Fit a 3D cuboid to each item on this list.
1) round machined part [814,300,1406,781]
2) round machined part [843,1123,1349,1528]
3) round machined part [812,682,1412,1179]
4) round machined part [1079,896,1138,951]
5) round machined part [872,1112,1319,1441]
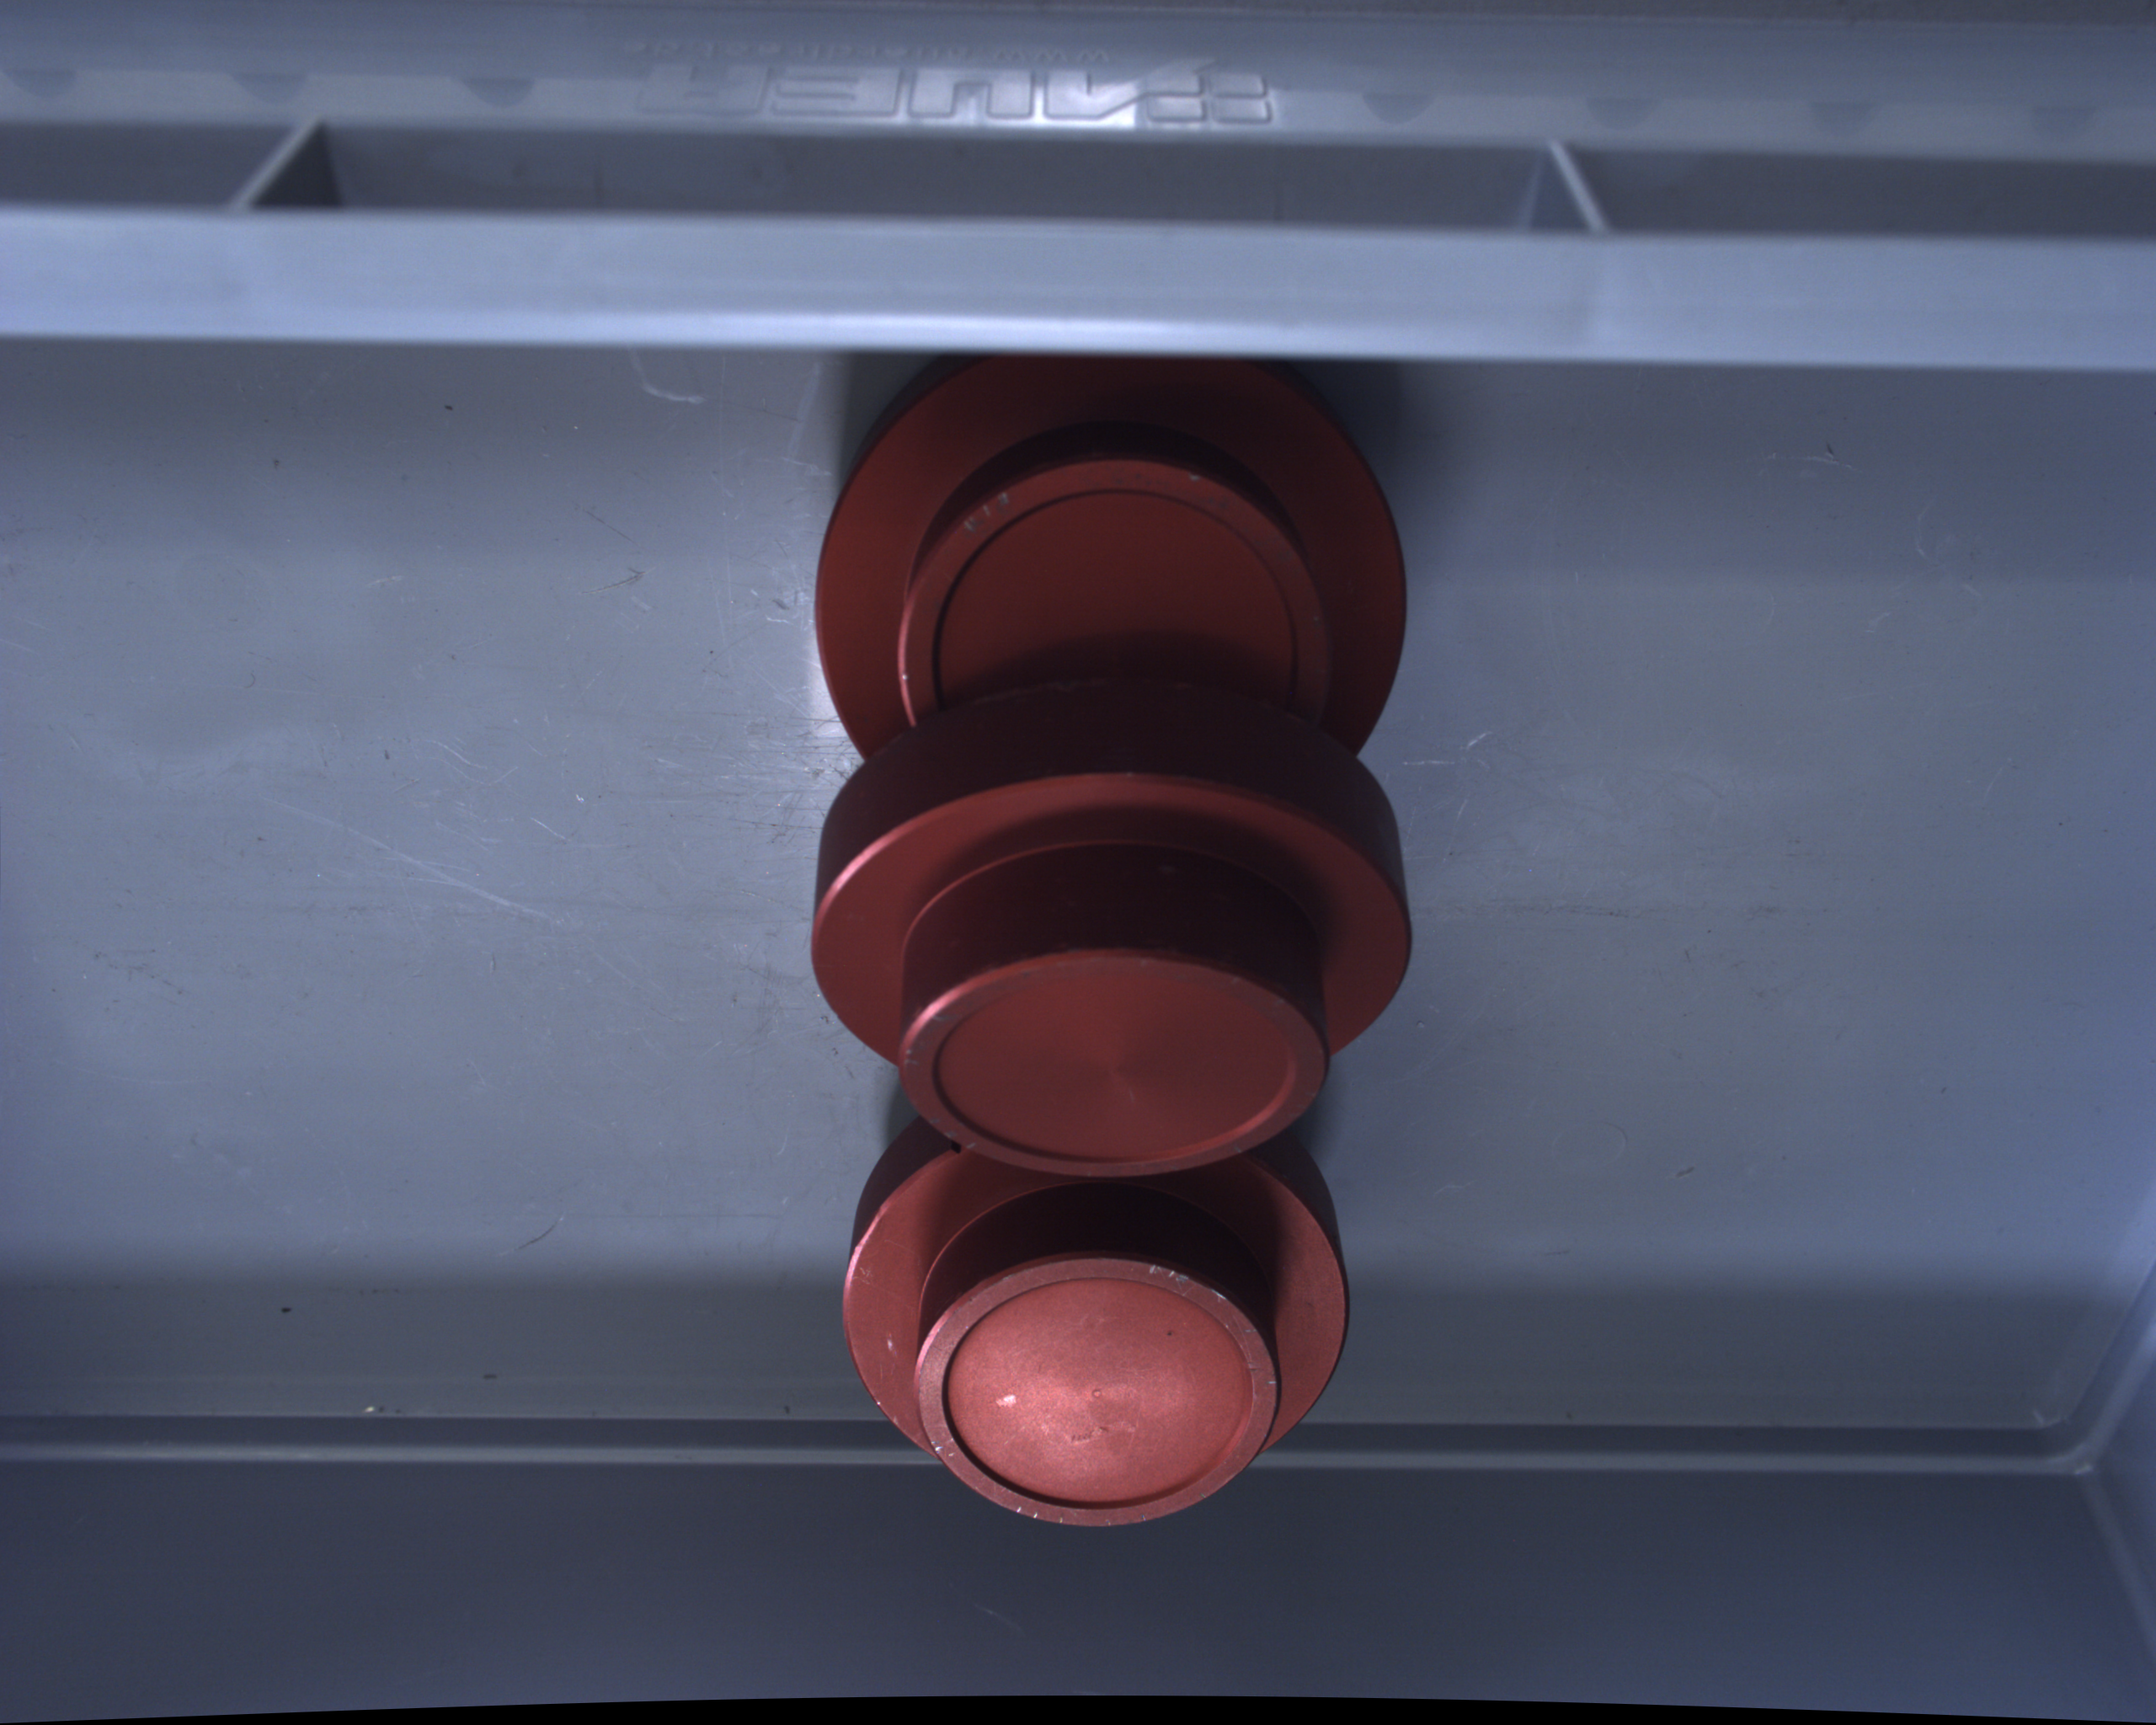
[{"bbox_3d":[0.005,-0.041,0.347,0.099,0.042,0.097,0,114,-1],"label":"round machined part"},{"bbox_3d":[0.004,0.090,0.405,0.099,0.042,0.097,0,119,0],"label":"round machined part"},{"bbox_3d":[0.005,0.018,0.344,0.099,0.042,0.097,0,143,0],"label":"round machined part"},{"bbox_3d":[0.002,0.018,0.411,0.099,0.042,0.097,0,129,0],"label":"round machined part"},{"bbox_3d":[0.004,0.096,0.460,0.099,0.042,0.098,0,145,0],"label":"round machined part"}]
